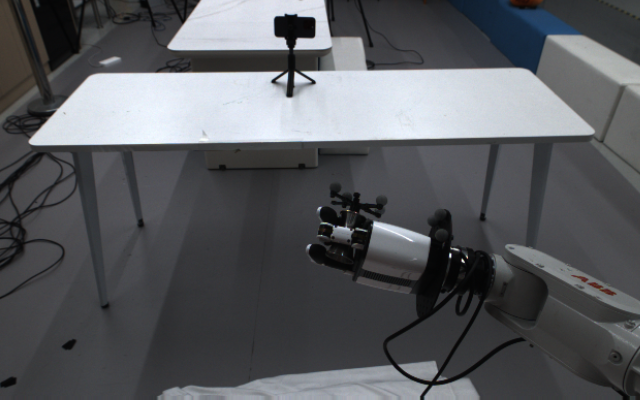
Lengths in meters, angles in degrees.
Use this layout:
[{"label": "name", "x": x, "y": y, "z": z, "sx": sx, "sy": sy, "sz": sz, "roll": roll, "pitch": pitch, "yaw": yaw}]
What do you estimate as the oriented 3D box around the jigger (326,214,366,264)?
[{"label": "jigger", "x": 0.041, "y": 0.053, "z": 0.700, "sx": 0.043, "sy": 0.043, "sz": 0.071, "roll": 12, "pitch": 71, "yaw": 14}]
